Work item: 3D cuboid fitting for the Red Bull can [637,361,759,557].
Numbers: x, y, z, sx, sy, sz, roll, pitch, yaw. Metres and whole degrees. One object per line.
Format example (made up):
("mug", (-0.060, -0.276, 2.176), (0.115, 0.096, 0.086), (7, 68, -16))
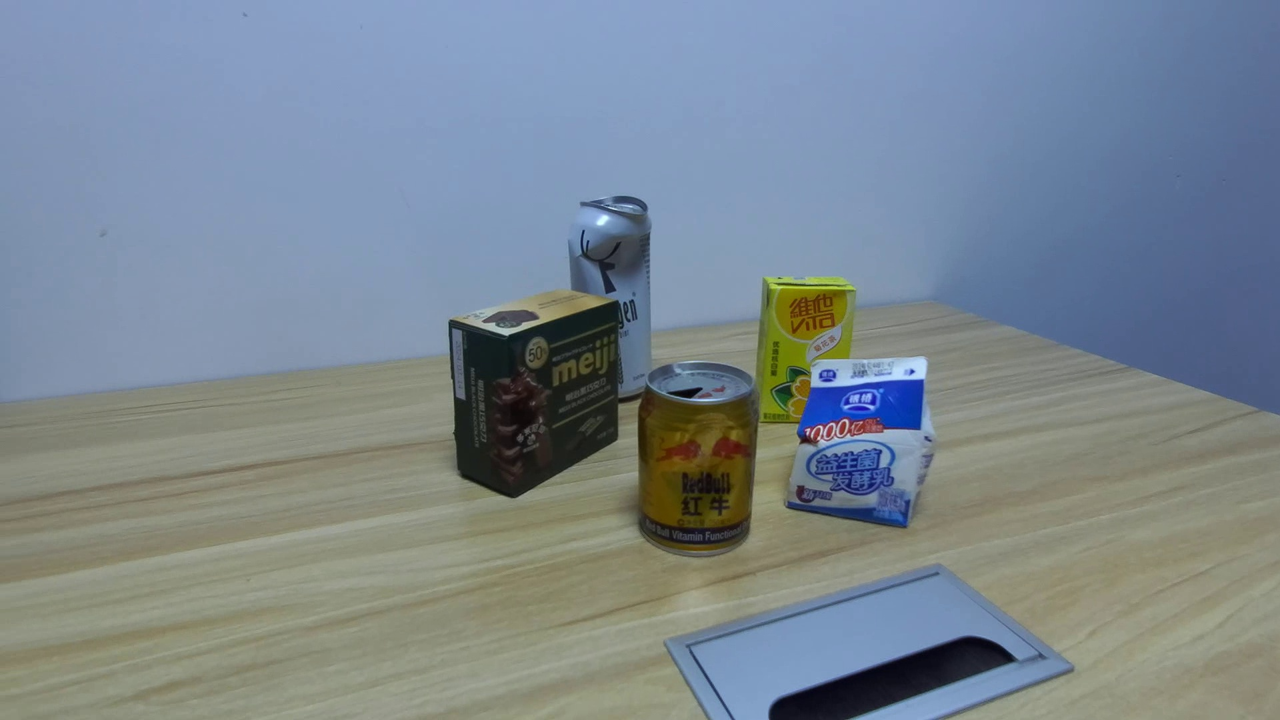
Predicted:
("Red Bull can", (0.032, 0.053, 0.396), (0.069, 0.092, 0.069), (1, 20, 0))

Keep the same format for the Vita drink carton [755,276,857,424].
("Vita drink carton", (0.124, -0.007, 0.544), (0.066, 0.109, 0.043), (2, 17, -1))

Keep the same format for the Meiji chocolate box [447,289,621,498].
("Meiji chocolate box", (-0.066, 0.018, 0.476), (0.056, 0.109, 0.110), (15, 24, 34))

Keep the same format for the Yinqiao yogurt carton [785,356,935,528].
("Yinqiao yogurt carton", (0.137, 0.039, 0.434), (0.083, 0.093, 0.077), (7, 22, 18))

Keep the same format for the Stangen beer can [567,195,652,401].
("Stangen beer can", (-0.022, -0.049, 0.582), (0.066, 0.162, 0.077), (0, 22, -1))
